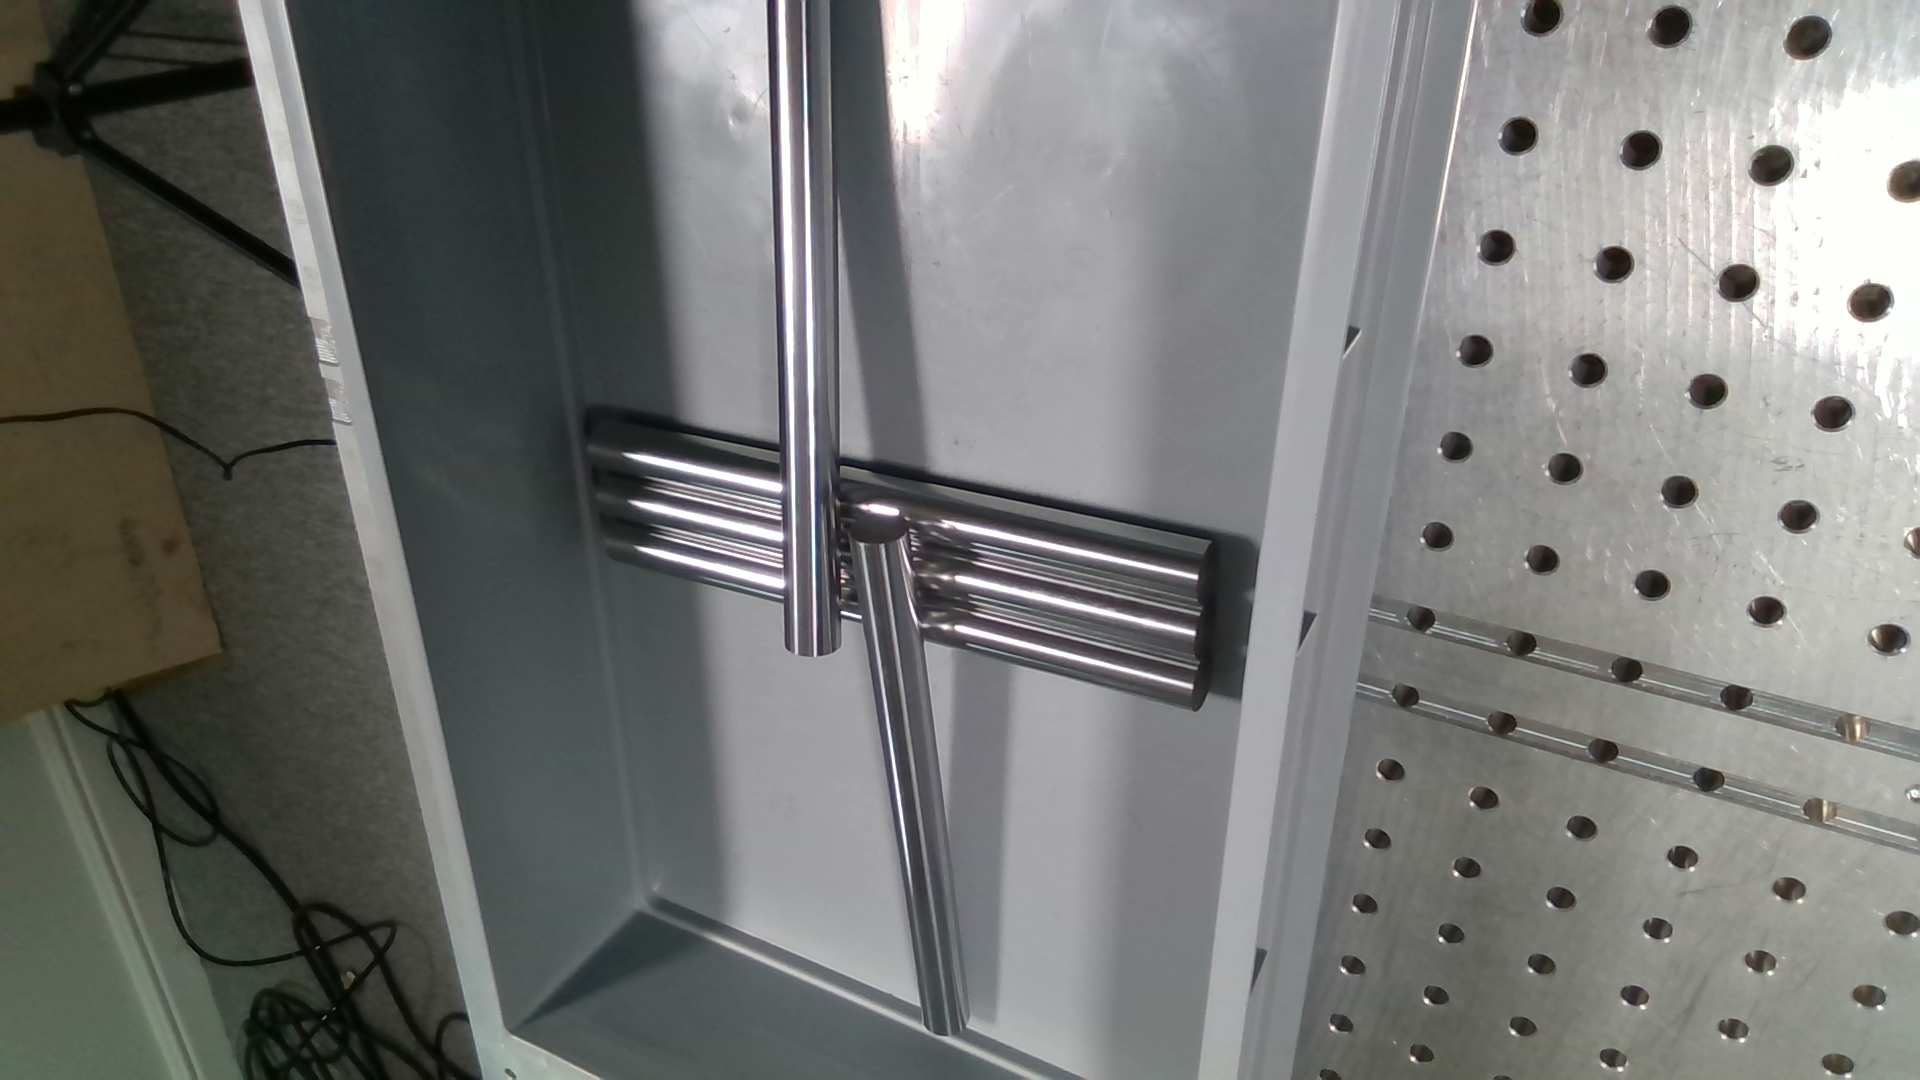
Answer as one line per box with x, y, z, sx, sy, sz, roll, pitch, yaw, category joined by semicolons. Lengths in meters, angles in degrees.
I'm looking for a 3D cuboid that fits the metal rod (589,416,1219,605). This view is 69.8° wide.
-0.036;-0.017;0.592;0.300;0.025;0.025;13;121;26;metal rod

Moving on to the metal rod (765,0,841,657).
-0.061;-0.093;0.544;0.025;0.025;0.301;13;115;25;metal rod

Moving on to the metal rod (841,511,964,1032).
-0.022;0.121;0.636;0.025;0.025;0.301;12;127;26;metal rod

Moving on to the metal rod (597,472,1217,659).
-0.036;0.004;0.603;0.300;0.025;0.025;13;121;26;metal rod

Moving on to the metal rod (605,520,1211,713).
-0.035;0.027;0.615;0.300;0.025;0.025;13;121;26;metal rod
